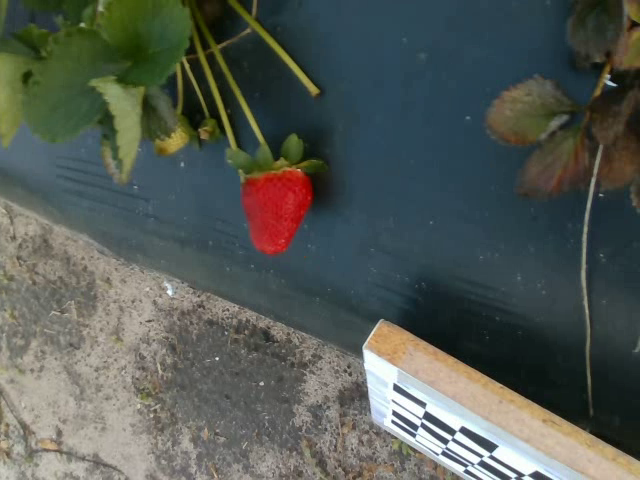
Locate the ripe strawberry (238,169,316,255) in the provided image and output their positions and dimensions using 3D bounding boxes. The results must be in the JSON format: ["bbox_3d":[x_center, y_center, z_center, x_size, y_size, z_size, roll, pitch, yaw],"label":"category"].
[{"bbox_3d":[-0.024,-0.016,0.327,0.042,0.054,0.046,13,-5,-26],"label":"ripe strawberry"}]
